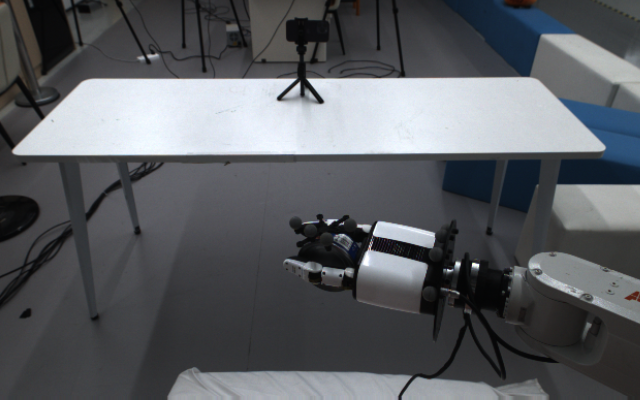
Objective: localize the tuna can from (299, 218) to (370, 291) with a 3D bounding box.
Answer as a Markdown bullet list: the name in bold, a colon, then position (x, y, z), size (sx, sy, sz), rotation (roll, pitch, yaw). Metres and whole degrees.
- **tuna can**: position (0.018, 0.087, 0.664), size (0.085, 0.085, 0.034), rotation (15, 34, 17)
